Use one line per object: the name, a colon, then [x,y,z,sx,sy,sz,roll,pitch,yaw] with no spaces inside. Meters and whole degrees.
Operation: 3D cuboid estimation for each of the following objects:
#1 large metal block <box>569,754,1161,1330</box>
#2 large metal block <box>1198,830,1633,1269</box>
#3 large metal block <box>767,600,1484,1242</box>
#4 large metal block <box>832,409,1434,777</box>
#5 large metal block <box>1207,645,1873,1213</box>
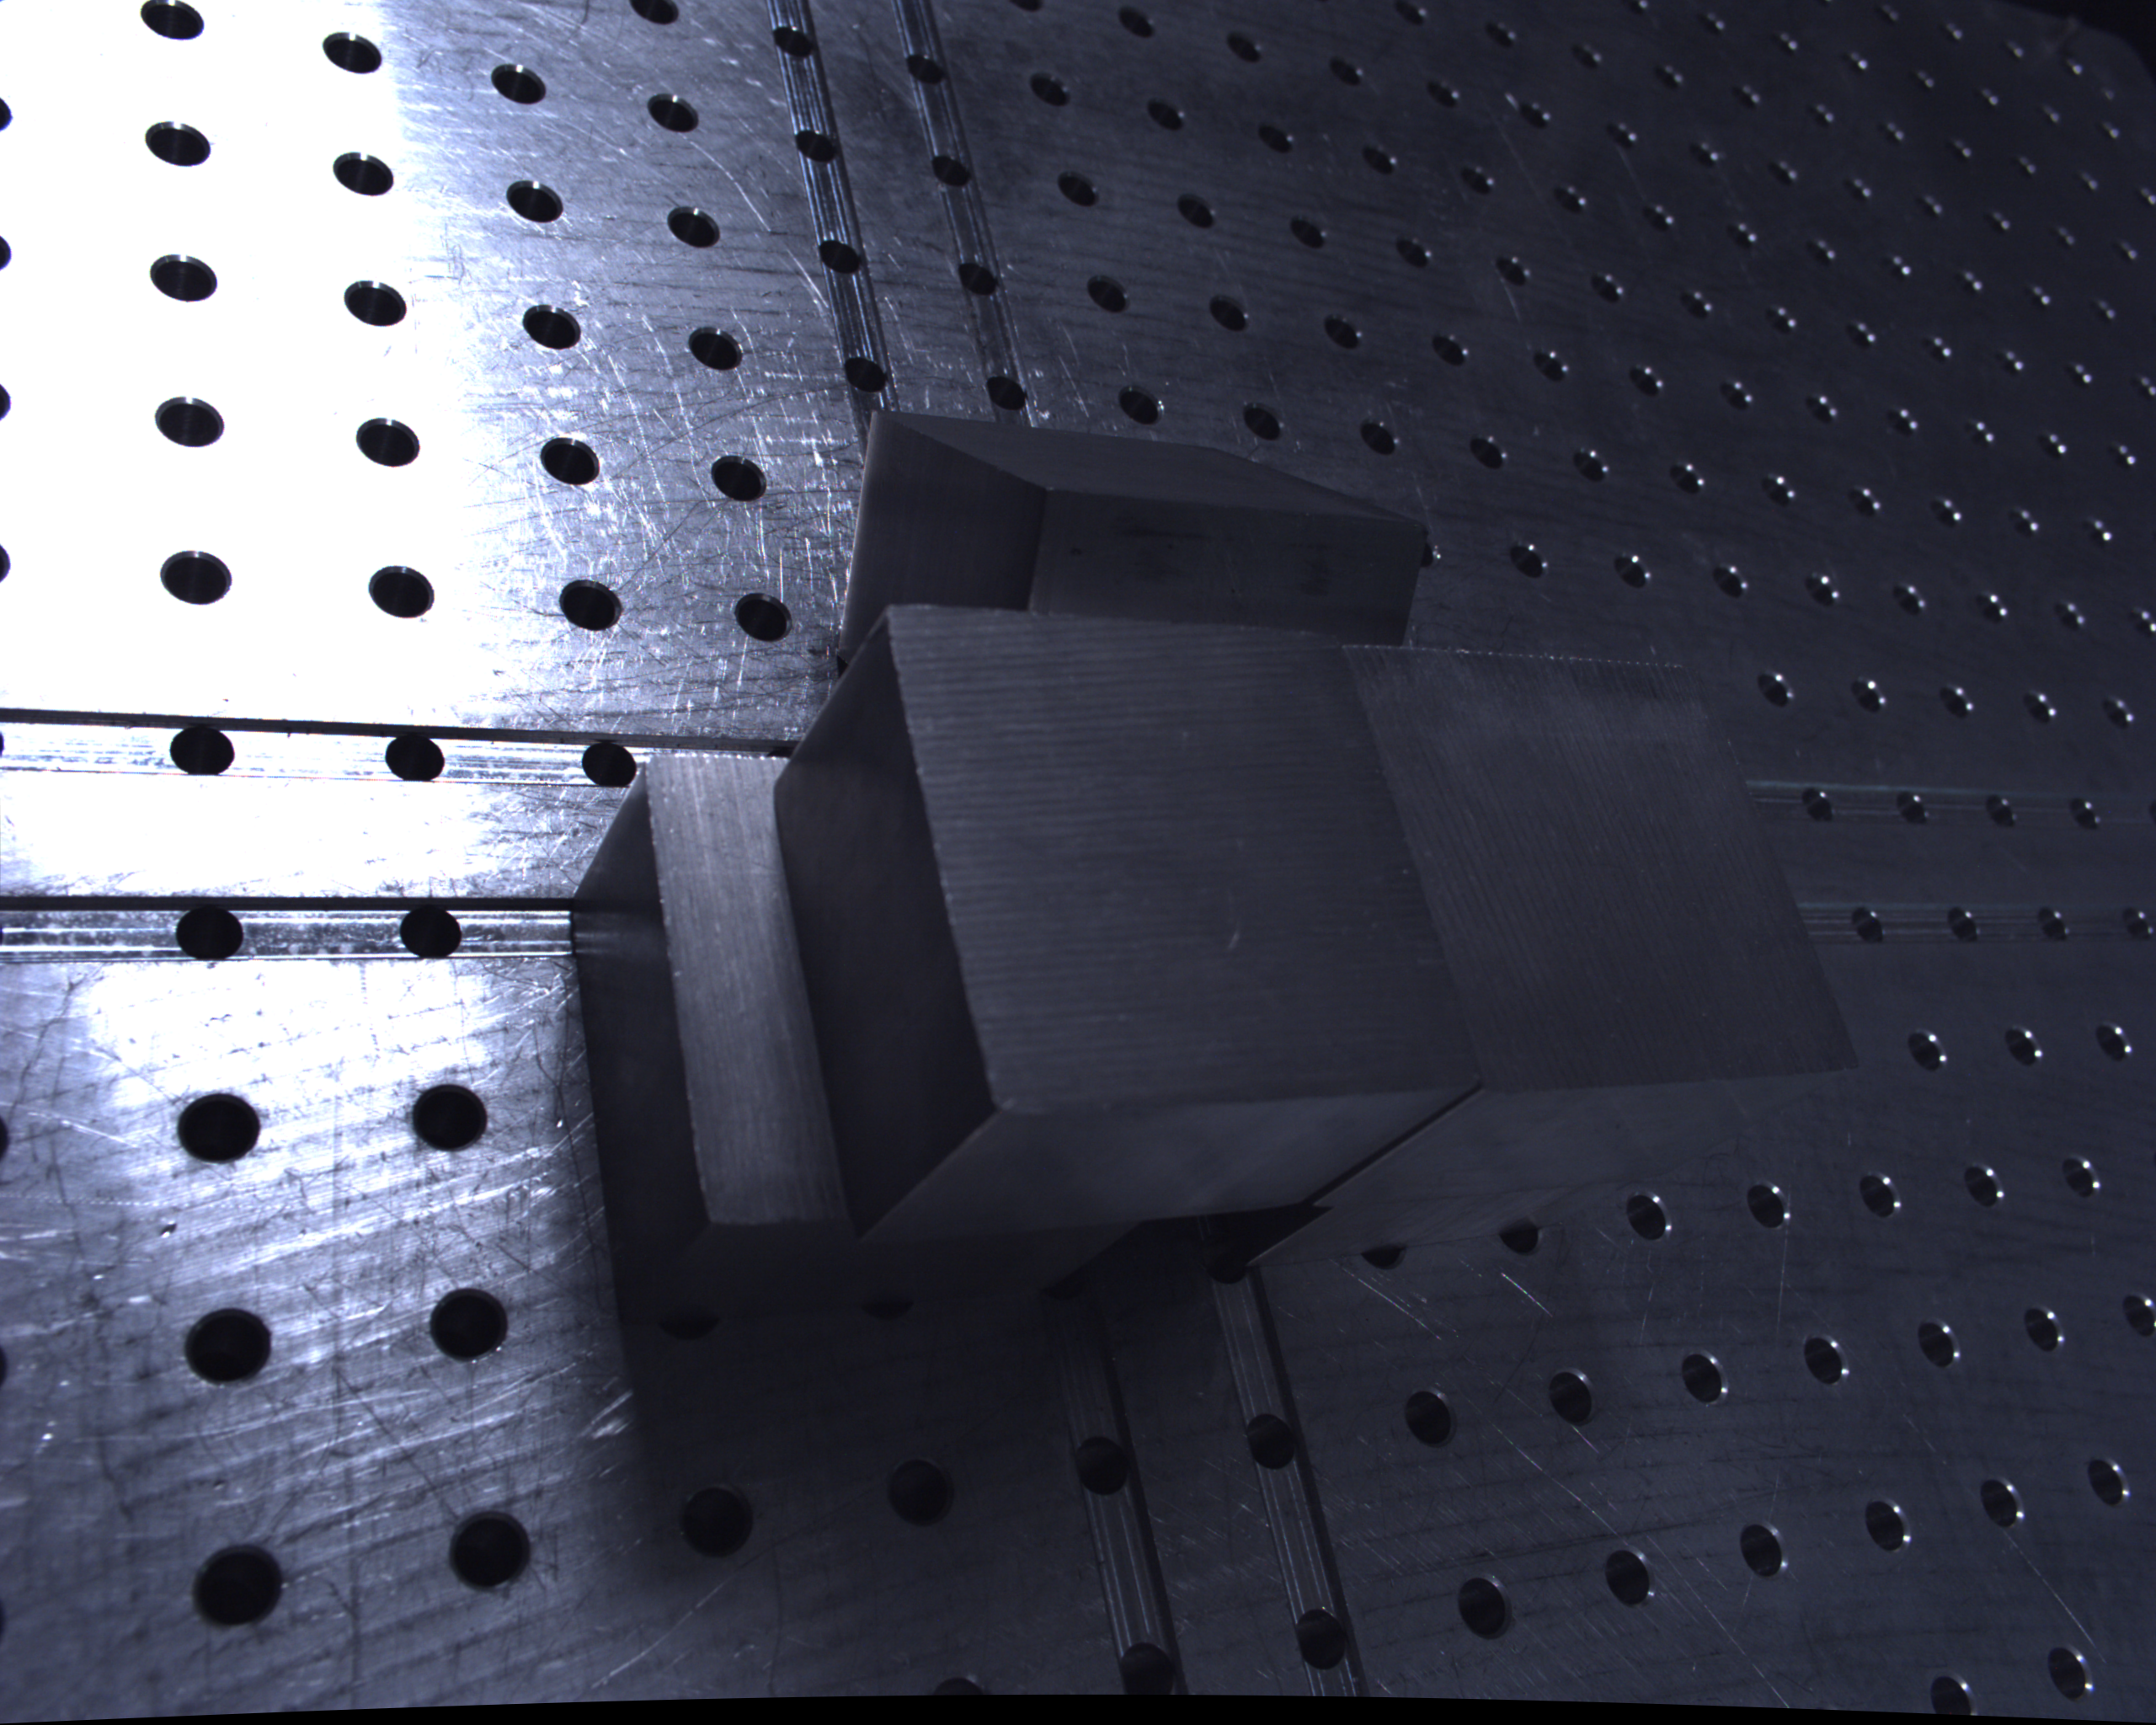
large metal block: [-0.037,0.030,0.356,0.081,0.050,0.080,1,61,-28]
large metal block: [0.067,0.029,0.411,0.081,0.050,0.080,-1,62,-29]
large metal block: [0.005,0.009,0.323,0.081,0.050,0.080,0,62,-29]
large metal block: [0.008,-0.052,0.403,0.081,0.050,0.080,0,20,-29]
large metal block: [0.077,0.011,0.362,0.081,0.050,0.080,0,62,-29]
